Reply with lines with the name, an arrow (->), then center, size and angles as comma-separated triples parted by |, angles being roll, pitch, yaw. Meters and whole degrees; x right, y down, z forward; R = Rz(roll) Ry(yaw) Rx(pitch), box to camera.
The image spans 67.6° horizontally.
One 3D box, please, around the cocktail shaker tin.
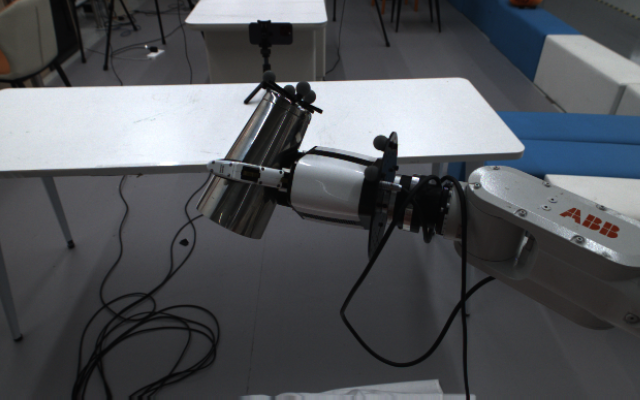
cocktail shaker tin -> -0.078, -0.047, 0.615 | 0.093, 0.170, 0.093 | 27, 2, -1
